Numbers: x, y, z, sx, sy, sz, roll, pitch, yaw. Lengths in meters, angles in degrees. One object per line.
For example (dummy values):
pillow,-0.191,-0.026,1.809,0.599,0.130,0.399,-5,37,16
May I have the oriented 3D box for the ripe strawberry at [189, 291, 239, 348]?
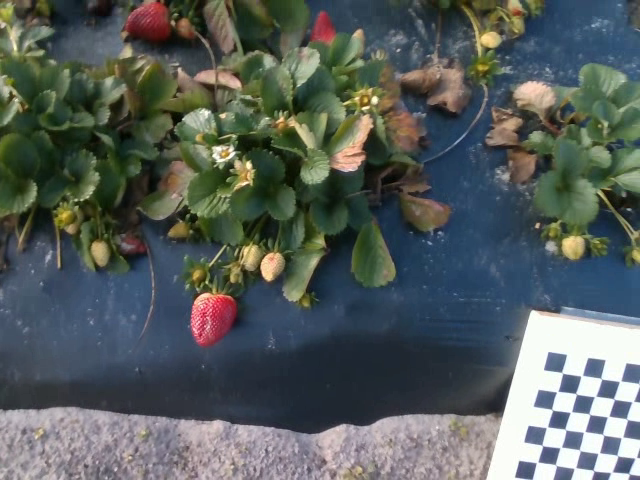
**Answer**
ripe strawberry,-0.125,0.093,0.669,0.052,0.068,0.045,5,-33,-4
